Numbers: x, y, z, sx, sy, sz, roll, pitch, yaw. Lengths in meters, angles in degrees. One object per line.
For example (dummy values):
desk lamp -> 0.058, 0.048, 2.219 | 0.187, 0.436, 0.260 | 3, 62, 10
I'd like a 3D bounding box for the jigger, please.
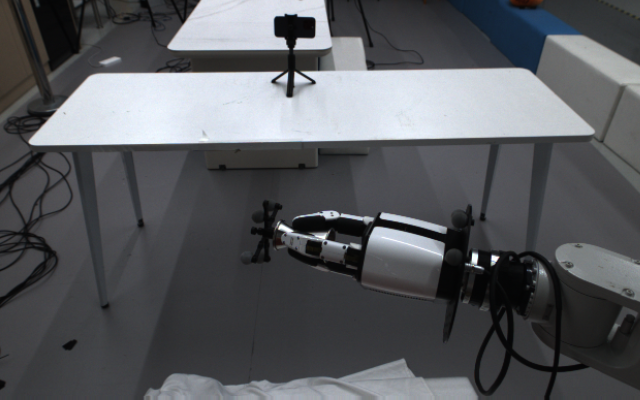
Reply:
jigger -> -0.013, 0.046, 0.598 | 0.071, 0.043, 0.043 | 10, 35, 16
